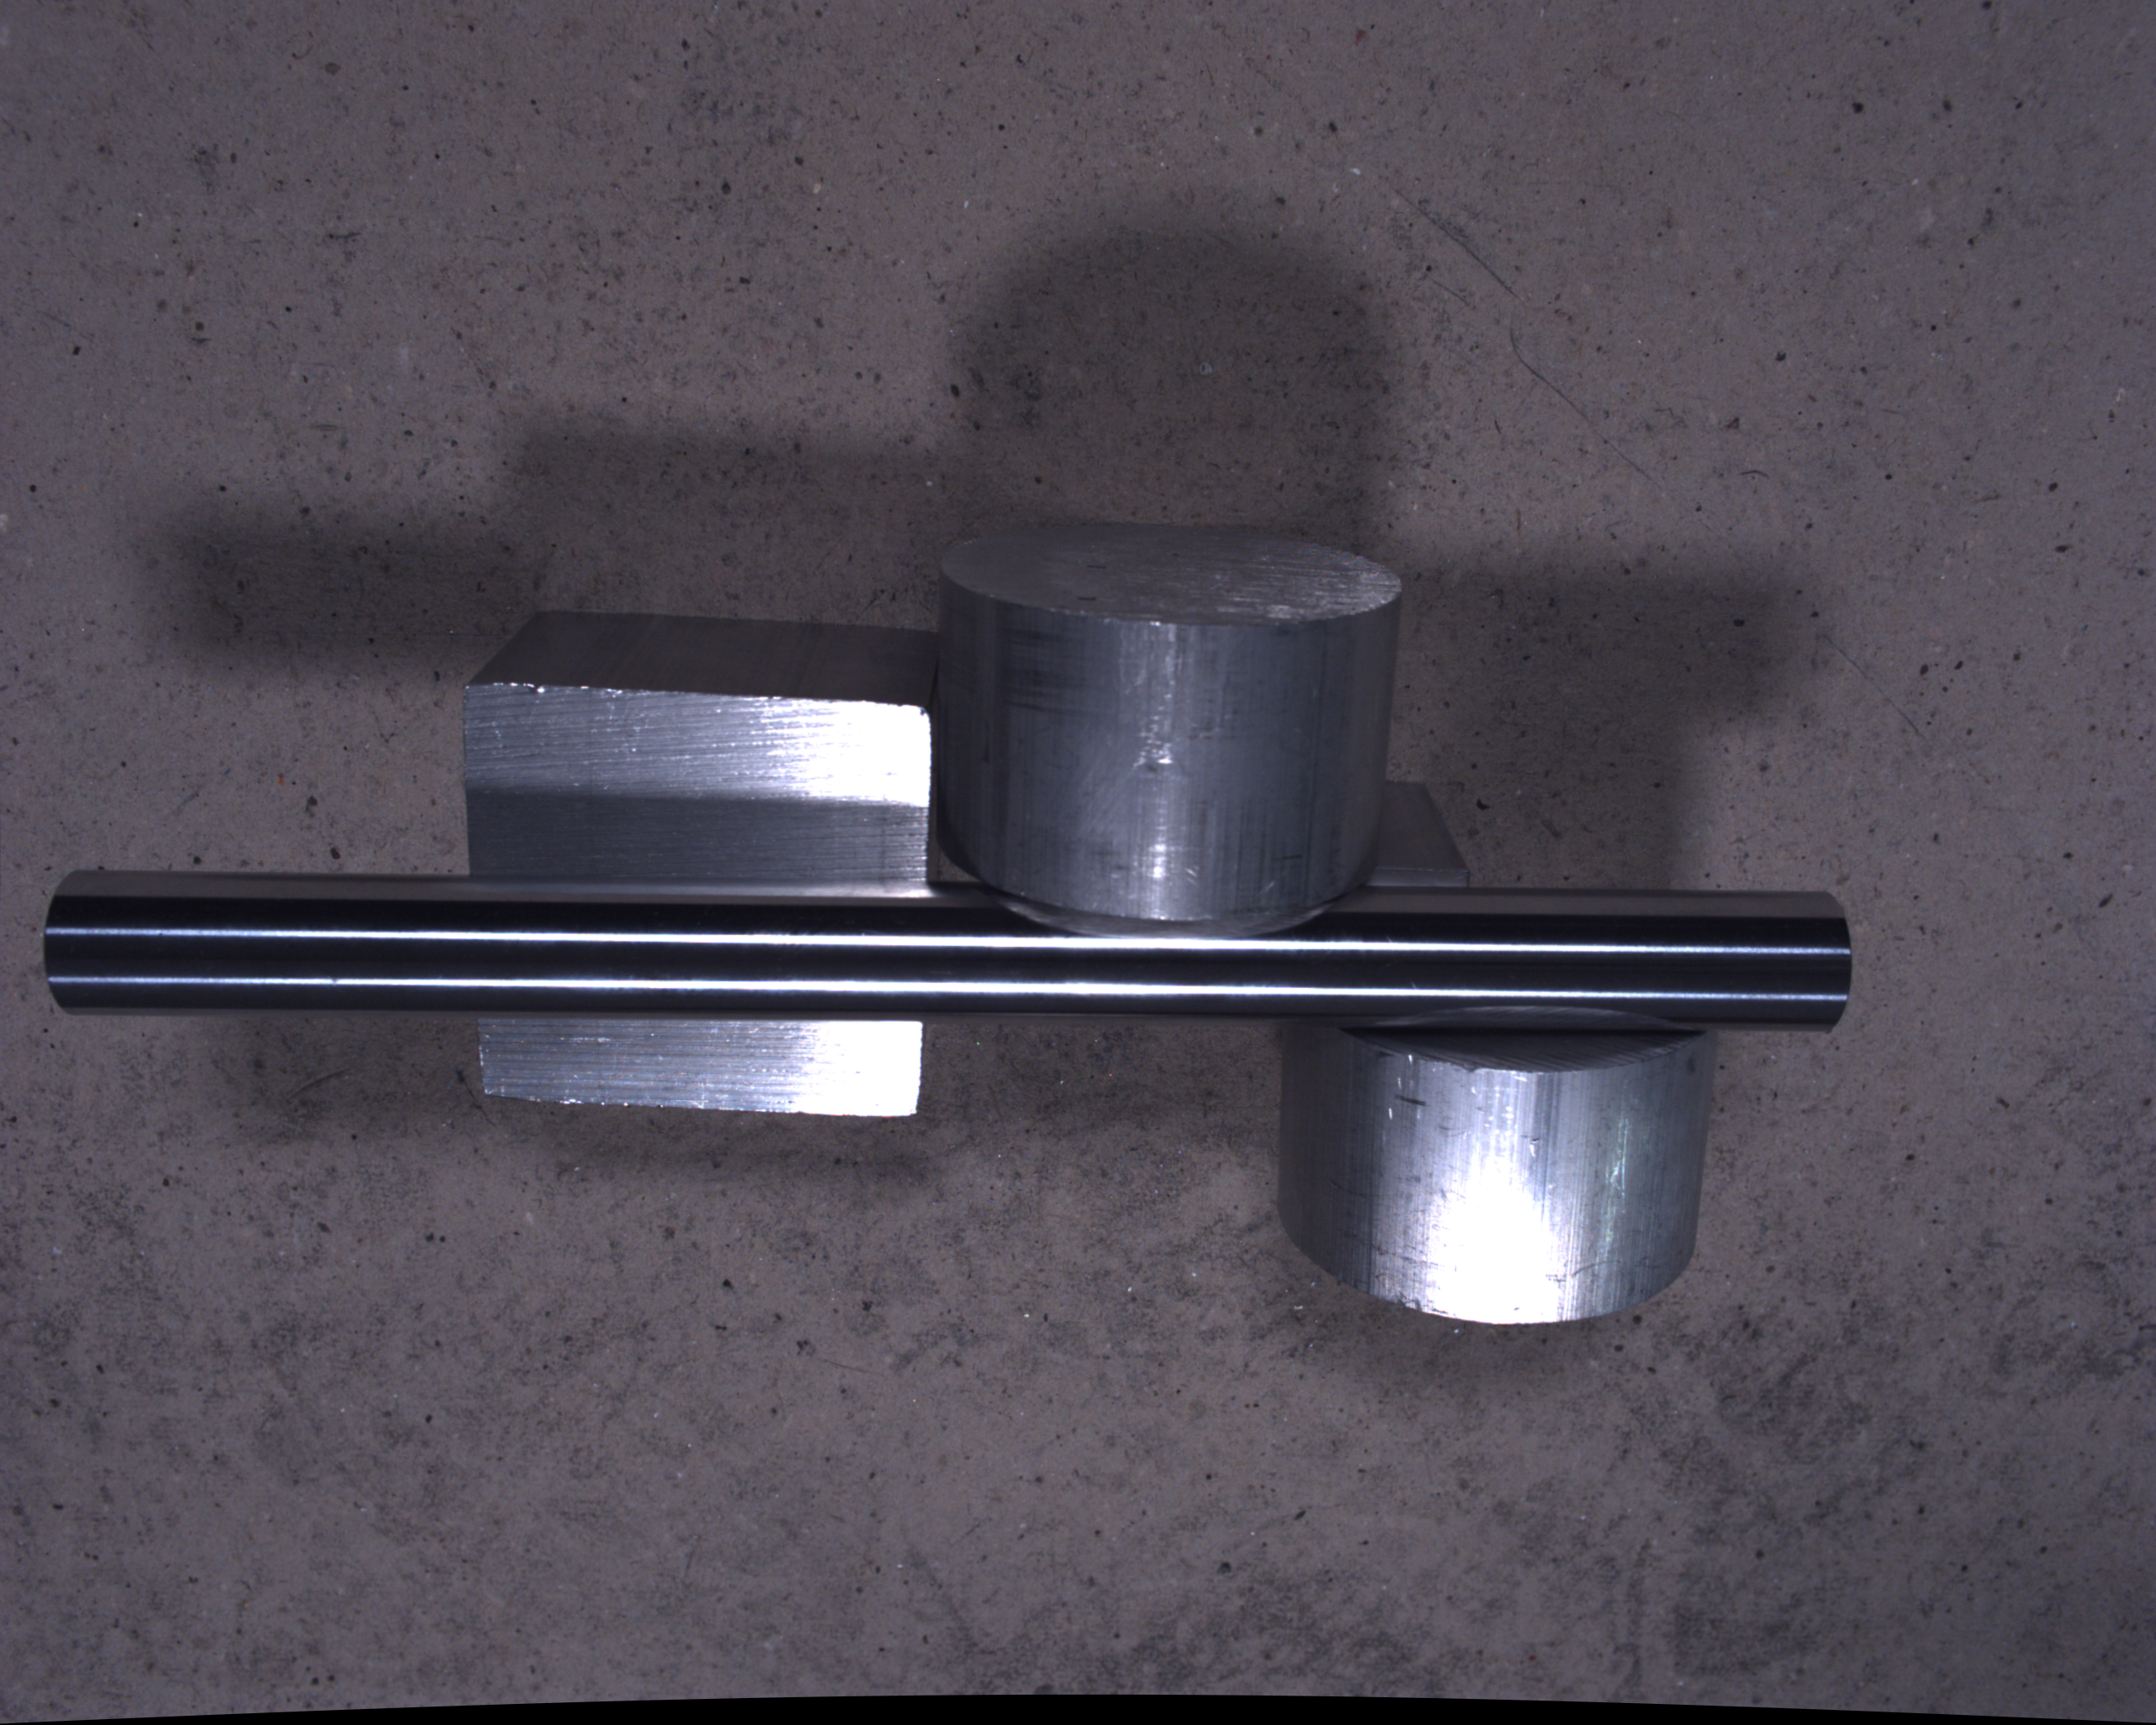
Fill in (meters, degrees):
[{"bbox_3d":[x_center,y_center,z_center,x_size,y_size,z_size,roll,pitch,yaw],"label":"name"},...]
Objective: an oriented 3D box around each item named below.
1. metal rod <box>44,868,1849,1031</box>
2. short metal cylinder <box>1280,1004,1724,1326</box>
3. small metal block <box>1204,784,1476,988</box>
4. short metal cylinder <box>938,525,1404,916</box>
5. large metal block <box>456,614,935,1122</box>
[{"bbox_3d":[-0.020,0.015,0.362,0.302,0.025,0.025,1,110,-2],"label":"metal rod"},{"bbox_3d":[0.079,0.045,0.399,0.081,0.080,0.050,0,110,-1],"label":"short metal cylinder"},{"bbox_3d":[0.045,0.004,0.399,0.050,0.050,0.025,1,110,-1],"label":"small metal block"},{"bbox_3d":[0.015,-0.028,0.372,0.081,0.080,0.050,2,110,-1],"label":"short metal cylinder"},{"bbox_3d":[-0.068,0.000,0.393,0.081,0.050,0.079,3,110,-2],"label":"large metal block"}]
